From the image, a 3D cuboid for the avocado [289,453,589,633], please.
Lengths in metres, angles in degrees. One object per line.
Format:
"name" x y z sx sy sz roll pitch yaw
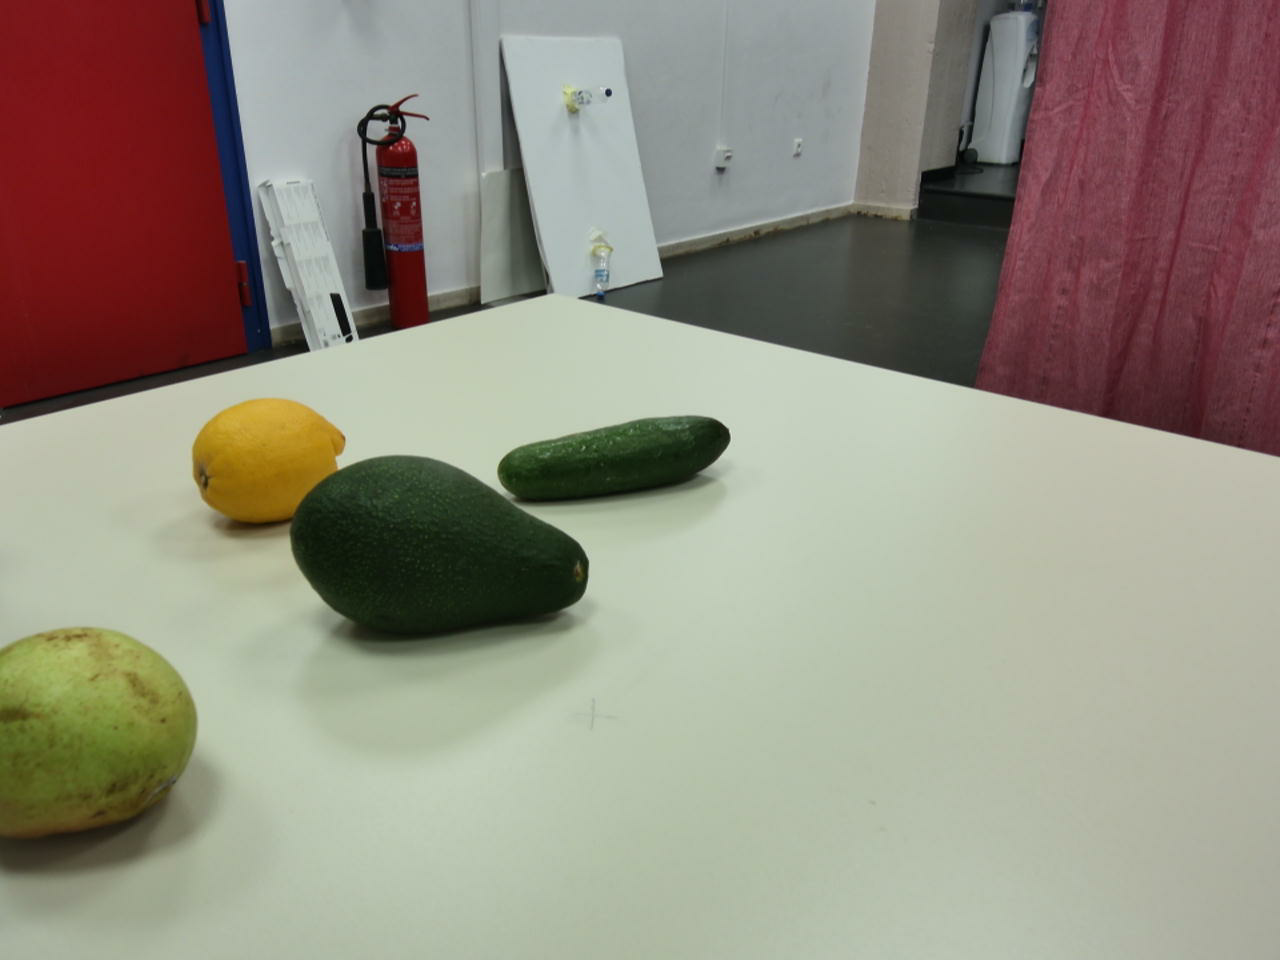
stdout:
"avocado" -0.081 0.026 0.398 0.110 0.071 0.072 7 23 14
